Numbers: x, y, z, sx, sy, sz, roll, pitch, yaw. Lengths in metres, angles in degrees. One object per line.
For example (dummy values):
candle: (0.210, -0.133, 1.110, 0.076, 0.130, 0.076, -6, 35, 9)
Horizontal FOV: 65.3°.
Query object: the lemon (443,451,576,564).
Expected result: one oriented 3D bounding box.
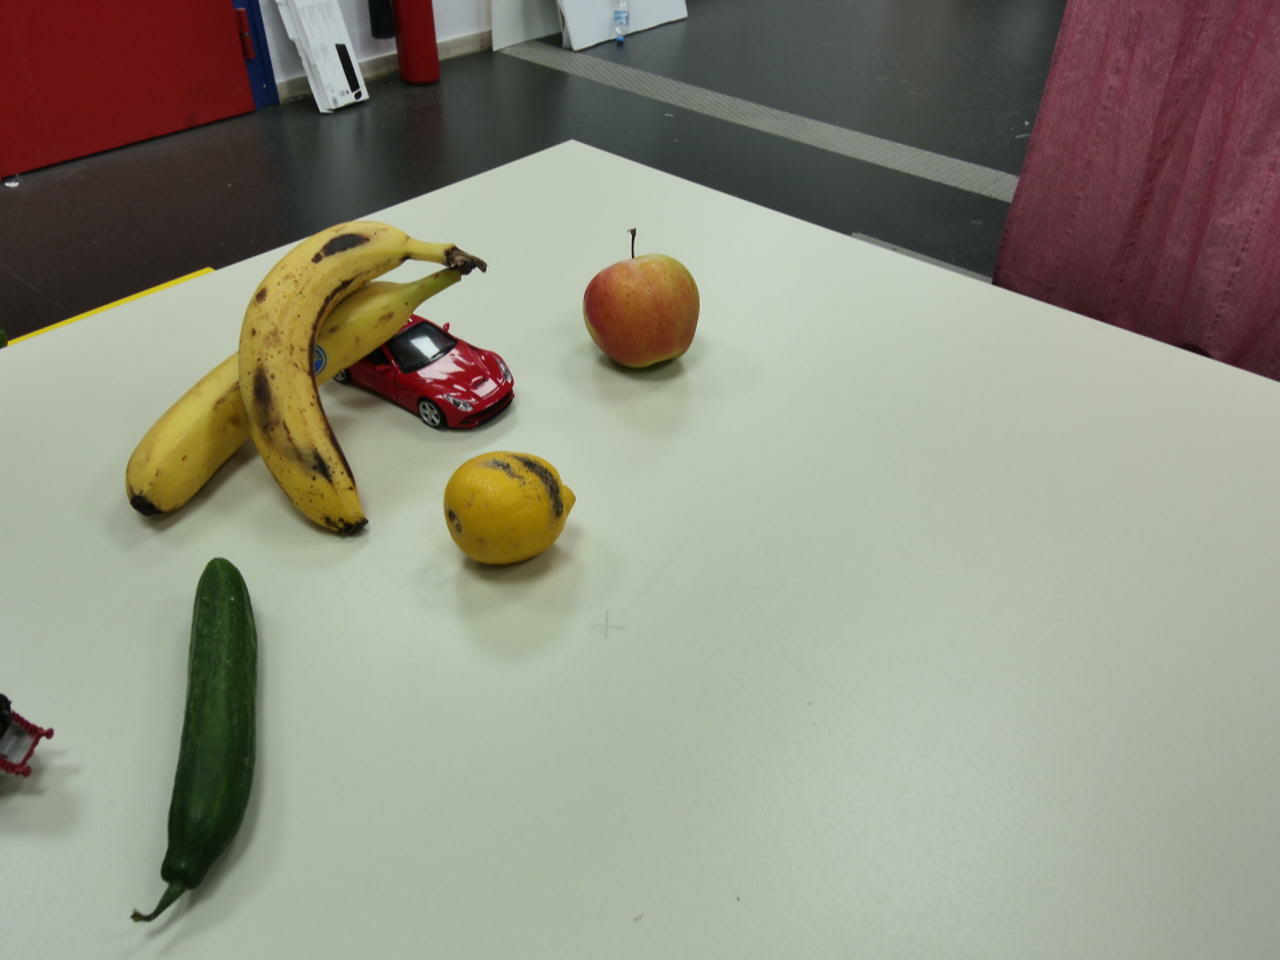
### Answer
lemon: (-0.067, 0.013, 0.497, 0.058, 0.056, 0.061, 22, 42, 25)
